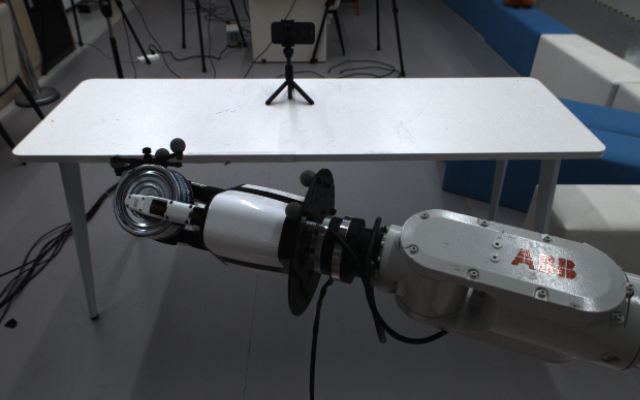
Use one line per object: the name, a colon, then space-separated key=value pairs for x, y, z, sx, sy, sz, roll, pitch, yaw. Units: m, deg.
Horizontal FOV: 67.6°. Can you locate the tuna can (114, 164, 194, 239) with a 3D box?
tuna can: x=-0.188 y=0.008 z=0.554 sx=0.085 sy=0.085 sz=0.034 roll=12 pitch=-6 yaw=14
